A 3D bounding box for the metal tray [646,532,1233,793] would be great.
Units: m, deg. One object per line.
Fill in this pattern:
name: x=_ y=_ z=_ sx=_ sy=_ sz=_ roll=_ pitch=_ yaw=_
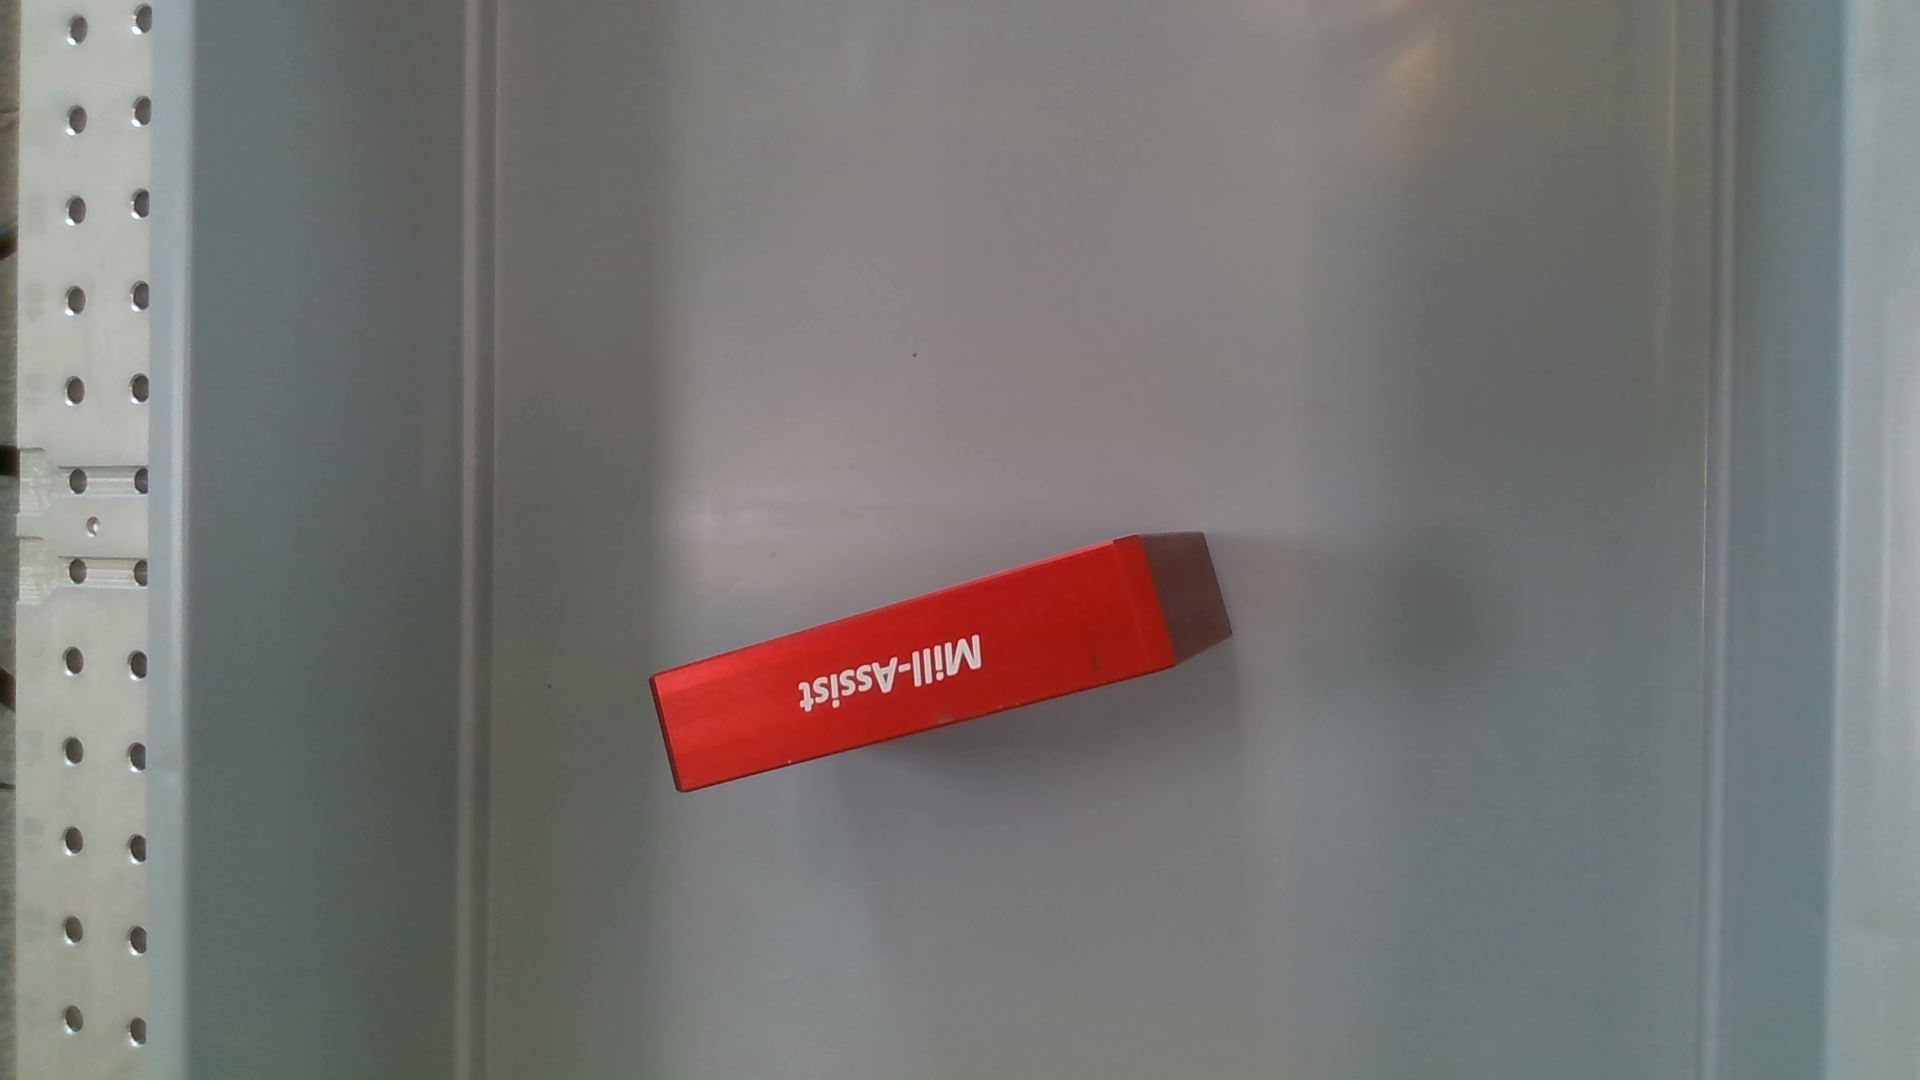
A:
metal tray: x=-0.002 y=0.030 z=0.358 sx=0.130 sy=0.090 sz=0.030 roll=-17 pitch=85 yaw=20
